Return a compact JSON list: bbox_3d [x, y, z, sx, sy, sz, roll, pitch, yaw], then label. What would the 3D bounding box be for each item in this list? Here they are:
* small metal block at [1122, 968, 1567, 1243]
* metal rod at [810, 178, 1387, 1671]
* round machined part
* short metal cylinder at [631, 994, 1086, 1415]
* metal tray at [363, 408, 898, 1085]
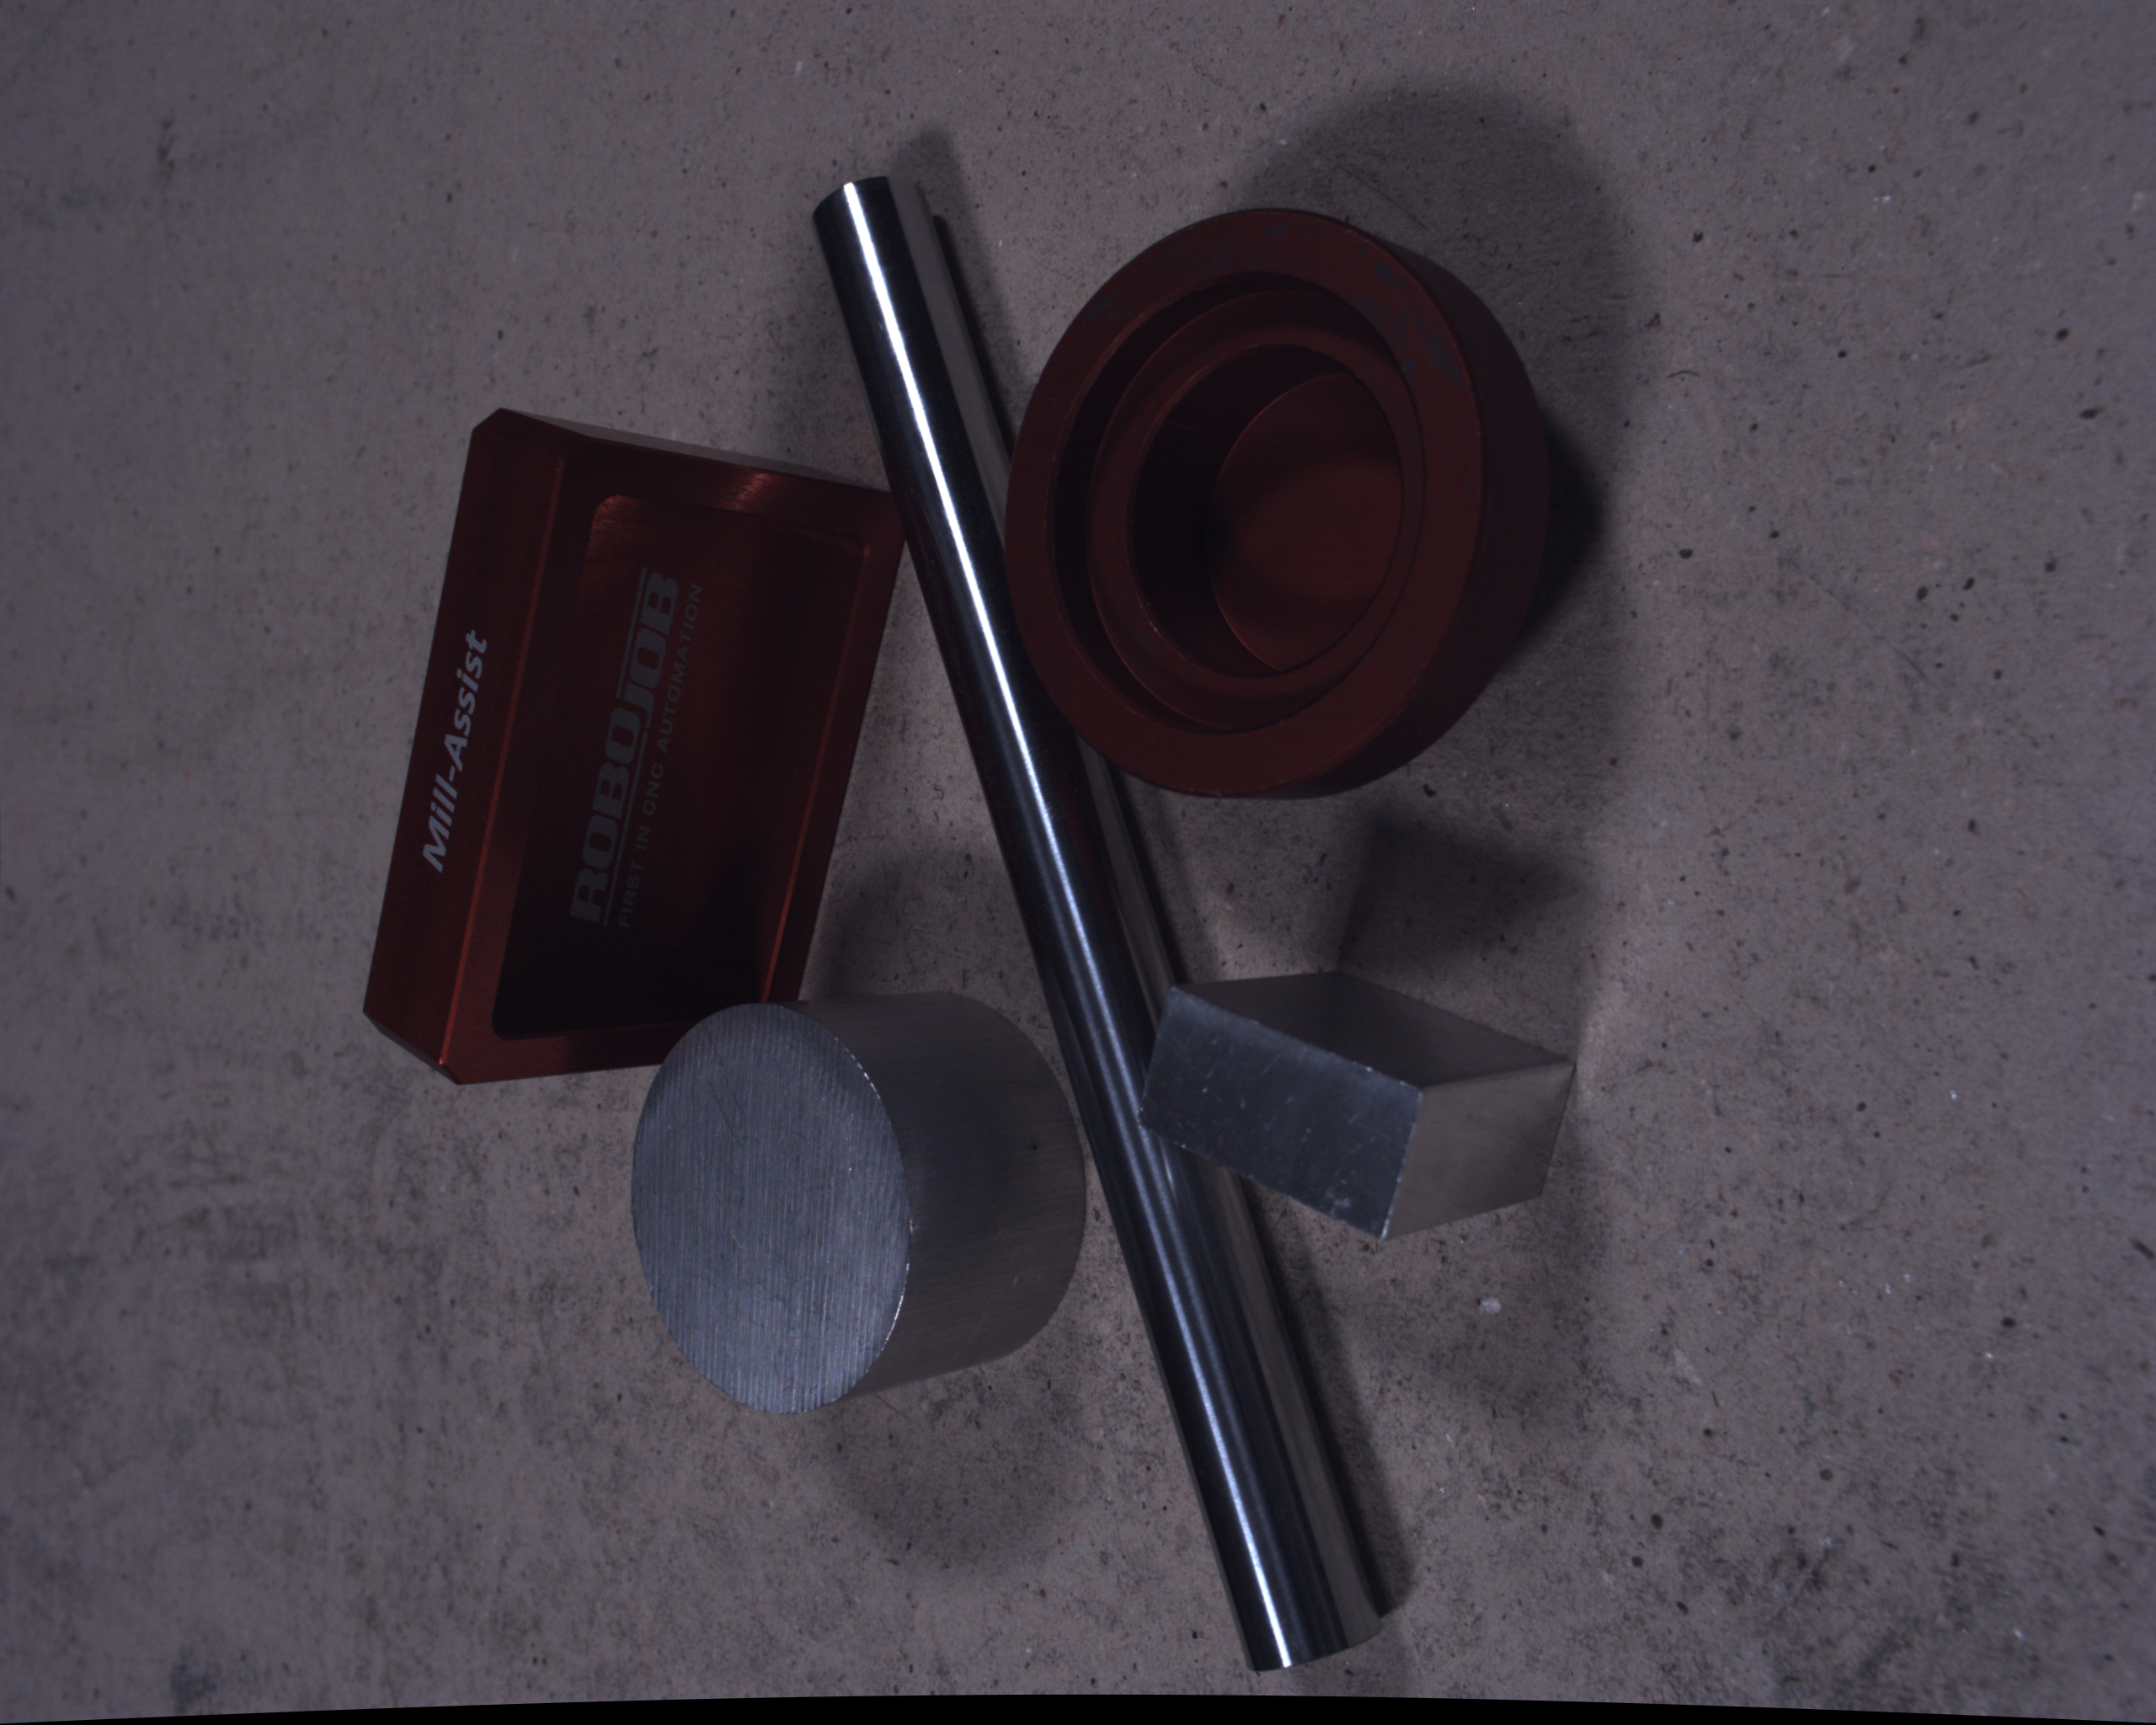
[{"bbox_3d":[0.045,0.038,0.348,0.050,0.050,0.025,21,104,37],"label":"small metal block"},{"bbox_3d":[-0.001,0.001,0.406,0.025,0.025,0.299,-28,73,36],"label":"metal rod"},{"bbox_3d":[0.037,-0.060,0.363,0.098,0.042,0.097,0,90,39],"label":"round machined part"},{"bbox_3d":[-0.045,0.067,0.425,0.080,0.050,0.079,0,90,39],"label":"short metal cylinder"},{"bbox_3d":[-0.091,-0.022,0.437,0.030,0.091,0.129,23,105,37],"label":"metal tray"}]
